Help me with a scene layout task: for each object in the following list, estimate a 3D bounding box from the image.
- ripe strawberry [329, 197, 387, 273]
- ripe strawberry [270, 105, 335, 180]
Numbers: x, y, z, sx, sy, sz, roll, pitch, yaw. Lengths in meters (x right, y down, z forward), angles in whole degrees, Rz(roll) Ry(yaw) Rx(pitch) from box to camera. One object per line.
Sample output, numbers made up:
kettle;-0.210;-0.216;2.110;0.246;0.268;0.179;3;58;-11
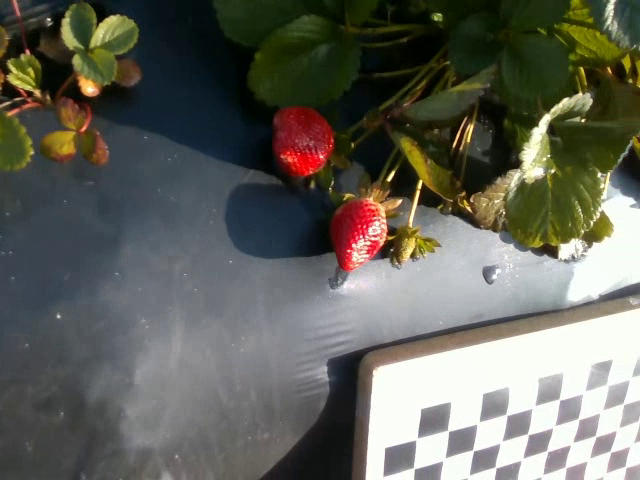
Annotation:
ripe strawberry;0.025;-0.002;0.356;0.038;0.053;0.043;-20;-50;41
ripe strawberry;-0.013;-0.061;0.359;0.039;0.048;0.054;26;14;39
